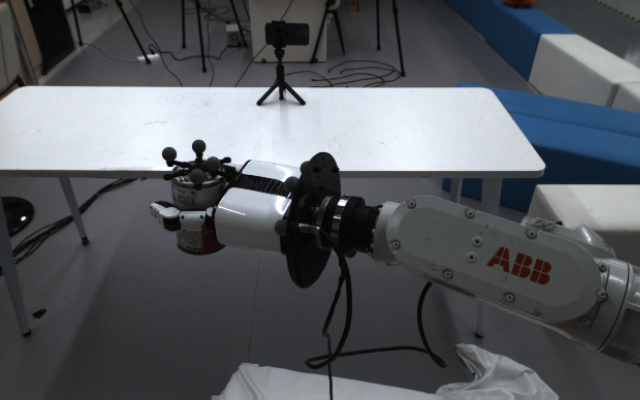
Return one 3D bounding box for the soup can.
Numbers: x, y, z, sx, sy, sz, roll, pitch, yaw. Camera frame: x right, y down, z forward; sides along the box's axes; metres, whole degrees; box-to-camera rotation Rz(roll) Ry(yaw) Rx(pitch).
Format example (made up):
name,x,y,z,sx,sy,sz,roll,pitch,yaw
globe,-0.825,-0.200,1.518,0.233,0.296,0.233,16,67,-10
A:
name,x,y,z,sx,sy,sz,roll,pitch,yaw
soup can,-0.150,0.011,0.613,0.067,0.101,0.067,4,30,-2
